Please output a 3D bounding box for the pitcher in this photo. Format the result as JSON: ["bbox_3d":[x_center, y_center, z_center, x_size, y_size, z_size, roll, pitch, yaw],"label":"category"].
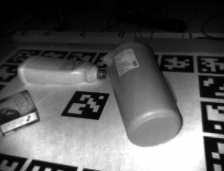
[{"bbox_3d":[0.076,0.012,0.524,0.191,0.133,0.240,15,36,-28],"label":"pitcher"}]

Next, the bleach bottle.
[{"bbox_3d":[-0.151,-0.057,0.668,0.250,0.068,0.102,3,44,9],"label":"bleach bottle"}]

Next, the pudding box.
[{"bbox_3d":[-0.247,0.054,0.555,0.091,0.039,0.112,-21,42,-25],"label":"pudding box"}]
